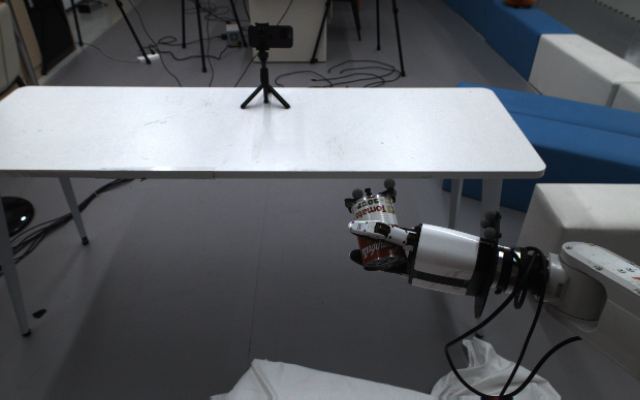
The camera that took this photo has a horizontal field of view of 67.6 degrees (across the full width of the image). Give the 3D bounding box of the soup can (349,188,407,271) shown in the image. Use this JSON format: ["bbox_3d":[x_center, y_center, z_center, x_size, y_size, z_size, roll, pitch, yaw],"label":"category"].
[{"bbox_3d":[0.091,0.051,0.743,0.067,0.067,0.101,-6,67,-12],"label":"soup can"}]
